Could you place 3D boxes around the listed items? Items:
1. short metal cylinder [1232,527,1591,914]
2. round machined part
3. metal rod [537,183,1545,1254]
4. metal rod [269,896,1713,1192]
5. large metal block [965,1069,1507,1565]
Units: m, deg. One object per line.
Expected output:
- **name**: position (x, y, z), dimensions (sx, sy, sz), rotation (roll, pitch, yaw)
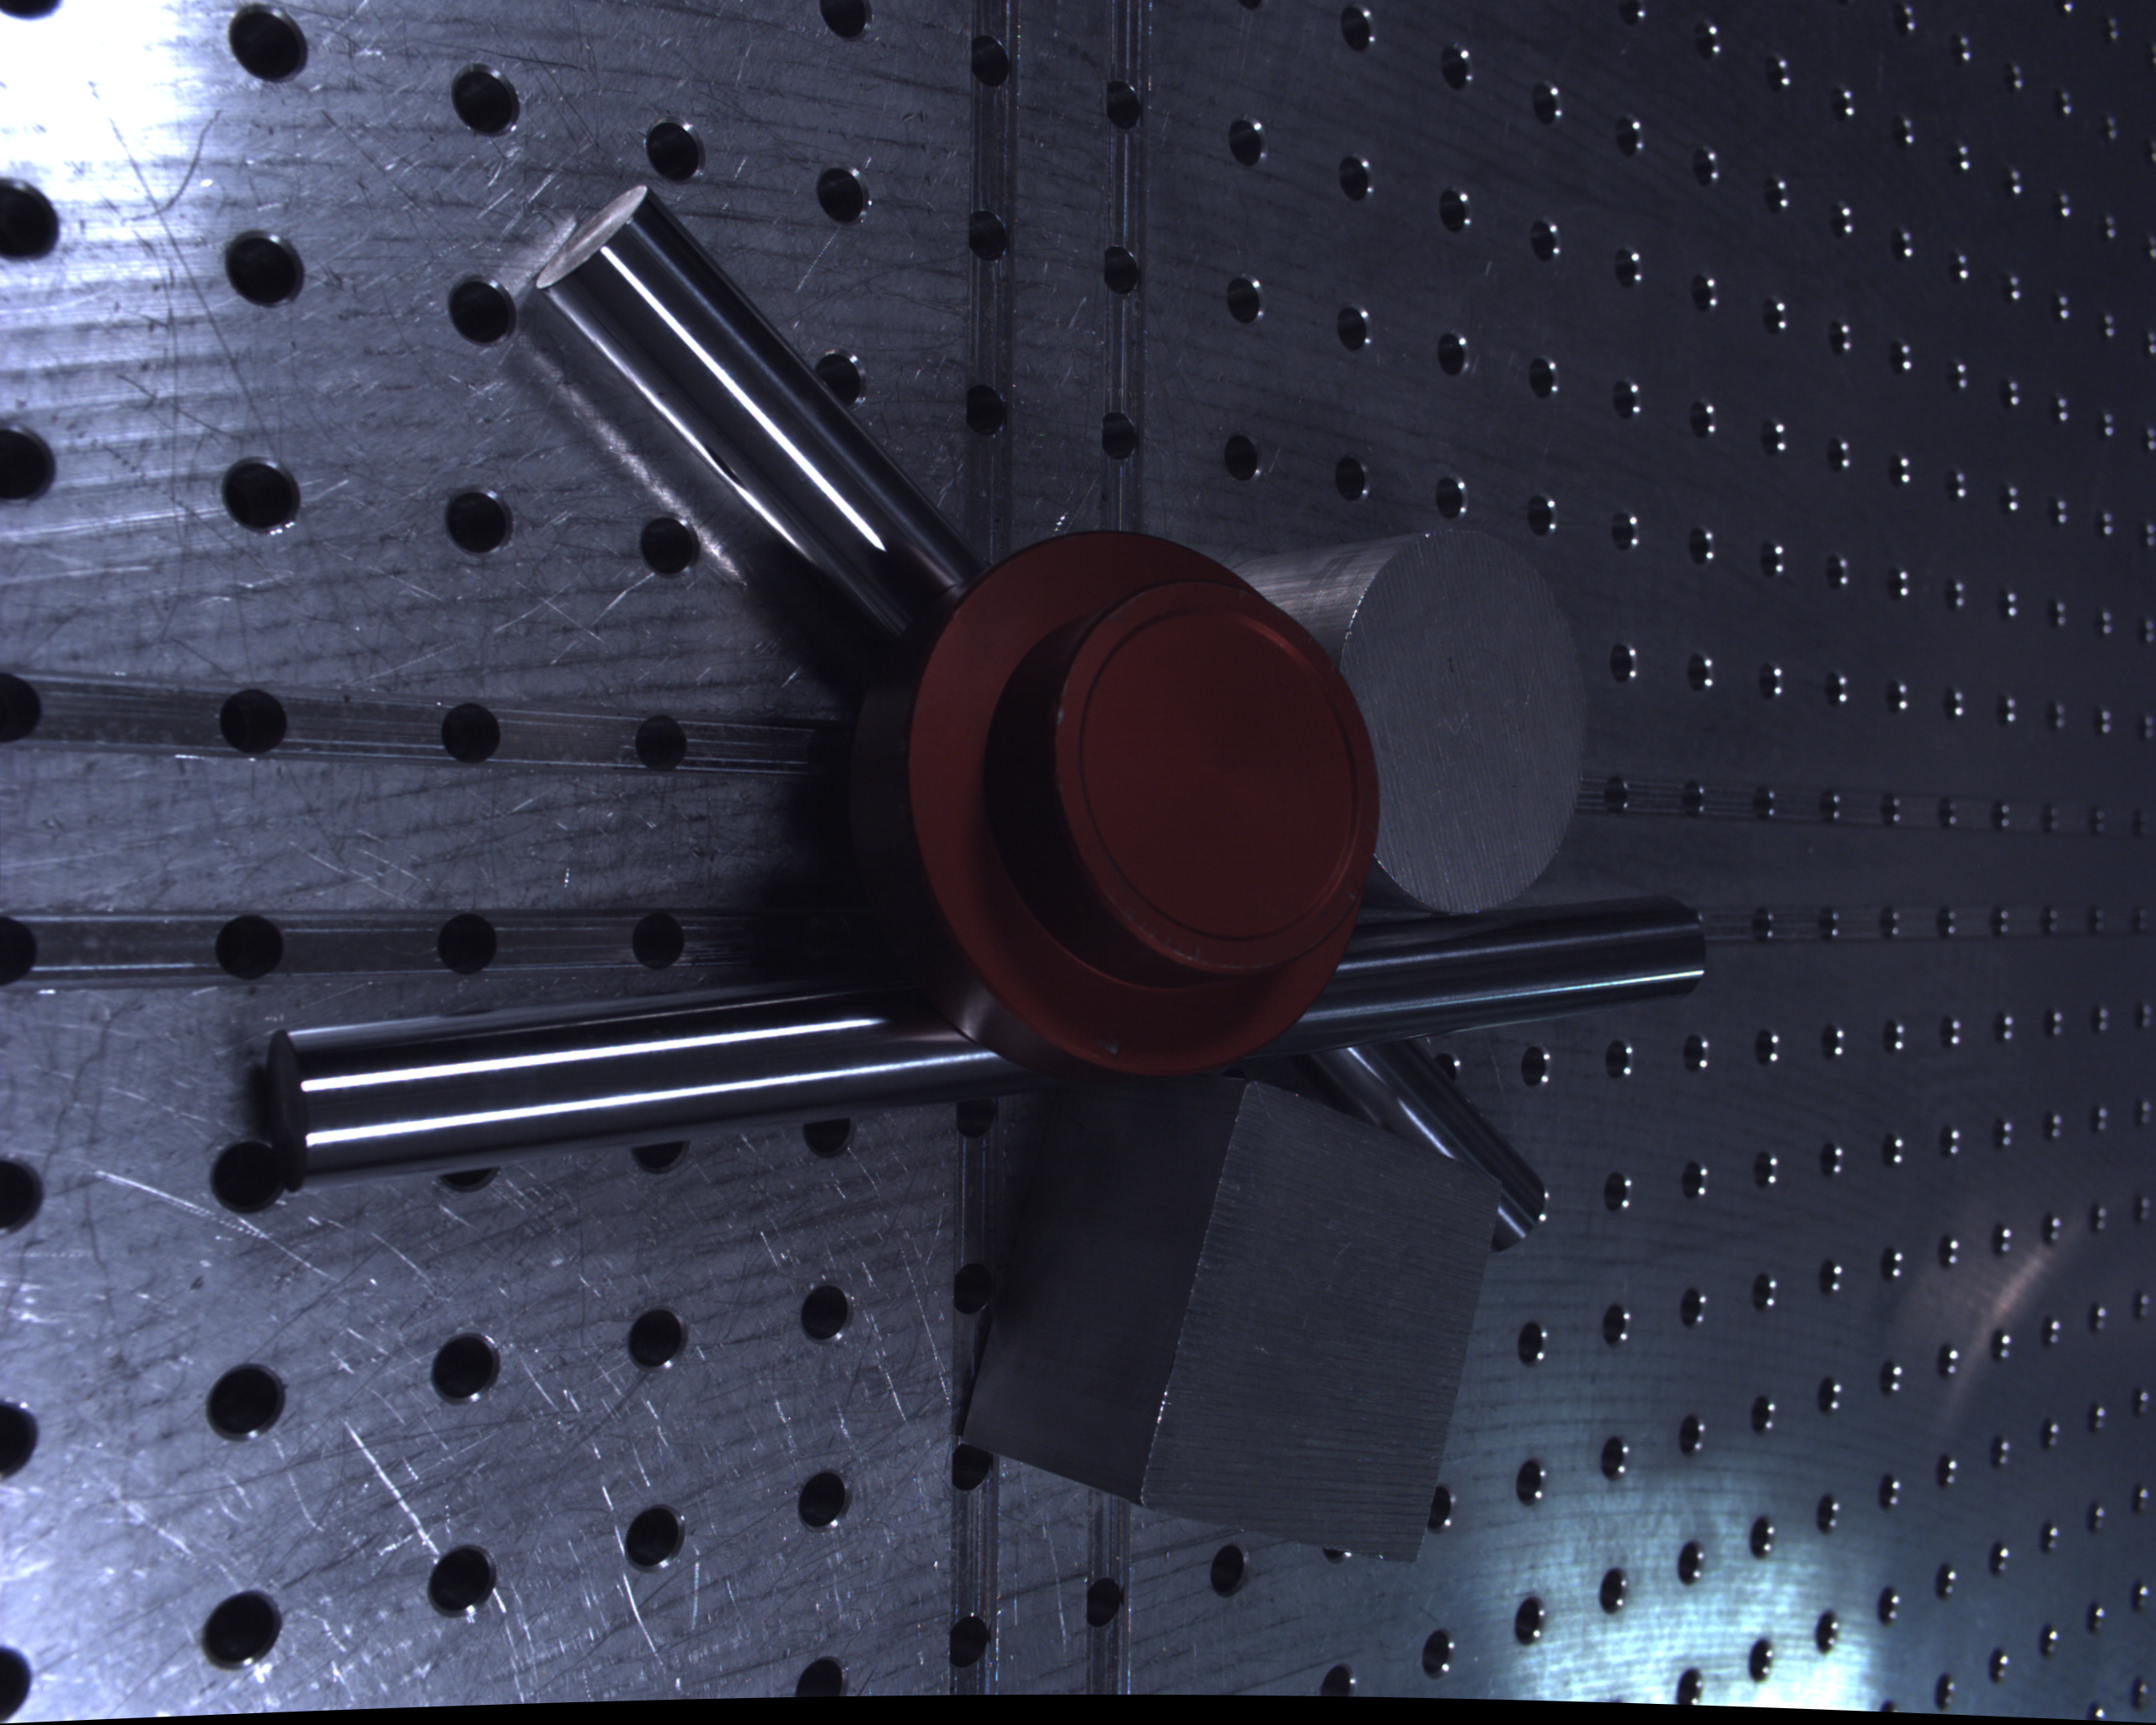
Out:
- **short metal cylinder**: position (0.065, -0.029, 0.449), dimensions (0.081, 0.050, 0.079), rotation (0, 90, -40)
- **round machined part**: position (0.013, -0.011, 0.367), dimensions (0.099, 0.042, 0.097), rotation (7, 78, -33)
- **metal rod**: position (0.010, -0.010, 0.420), dimensions (0.300, 0.025, 0.025), rotation (46, 62, -31)
- **metal rod**: position (0.008, 0.028, 0.394), dimensions (0.303, 0.025, 0.025), rotation (-4, 93, -33)
- **large metal block**: position (0.034, 0.090, 0.421), dimensions (0.080, 0.050, 0.080), rotation (26, 74, -38)
